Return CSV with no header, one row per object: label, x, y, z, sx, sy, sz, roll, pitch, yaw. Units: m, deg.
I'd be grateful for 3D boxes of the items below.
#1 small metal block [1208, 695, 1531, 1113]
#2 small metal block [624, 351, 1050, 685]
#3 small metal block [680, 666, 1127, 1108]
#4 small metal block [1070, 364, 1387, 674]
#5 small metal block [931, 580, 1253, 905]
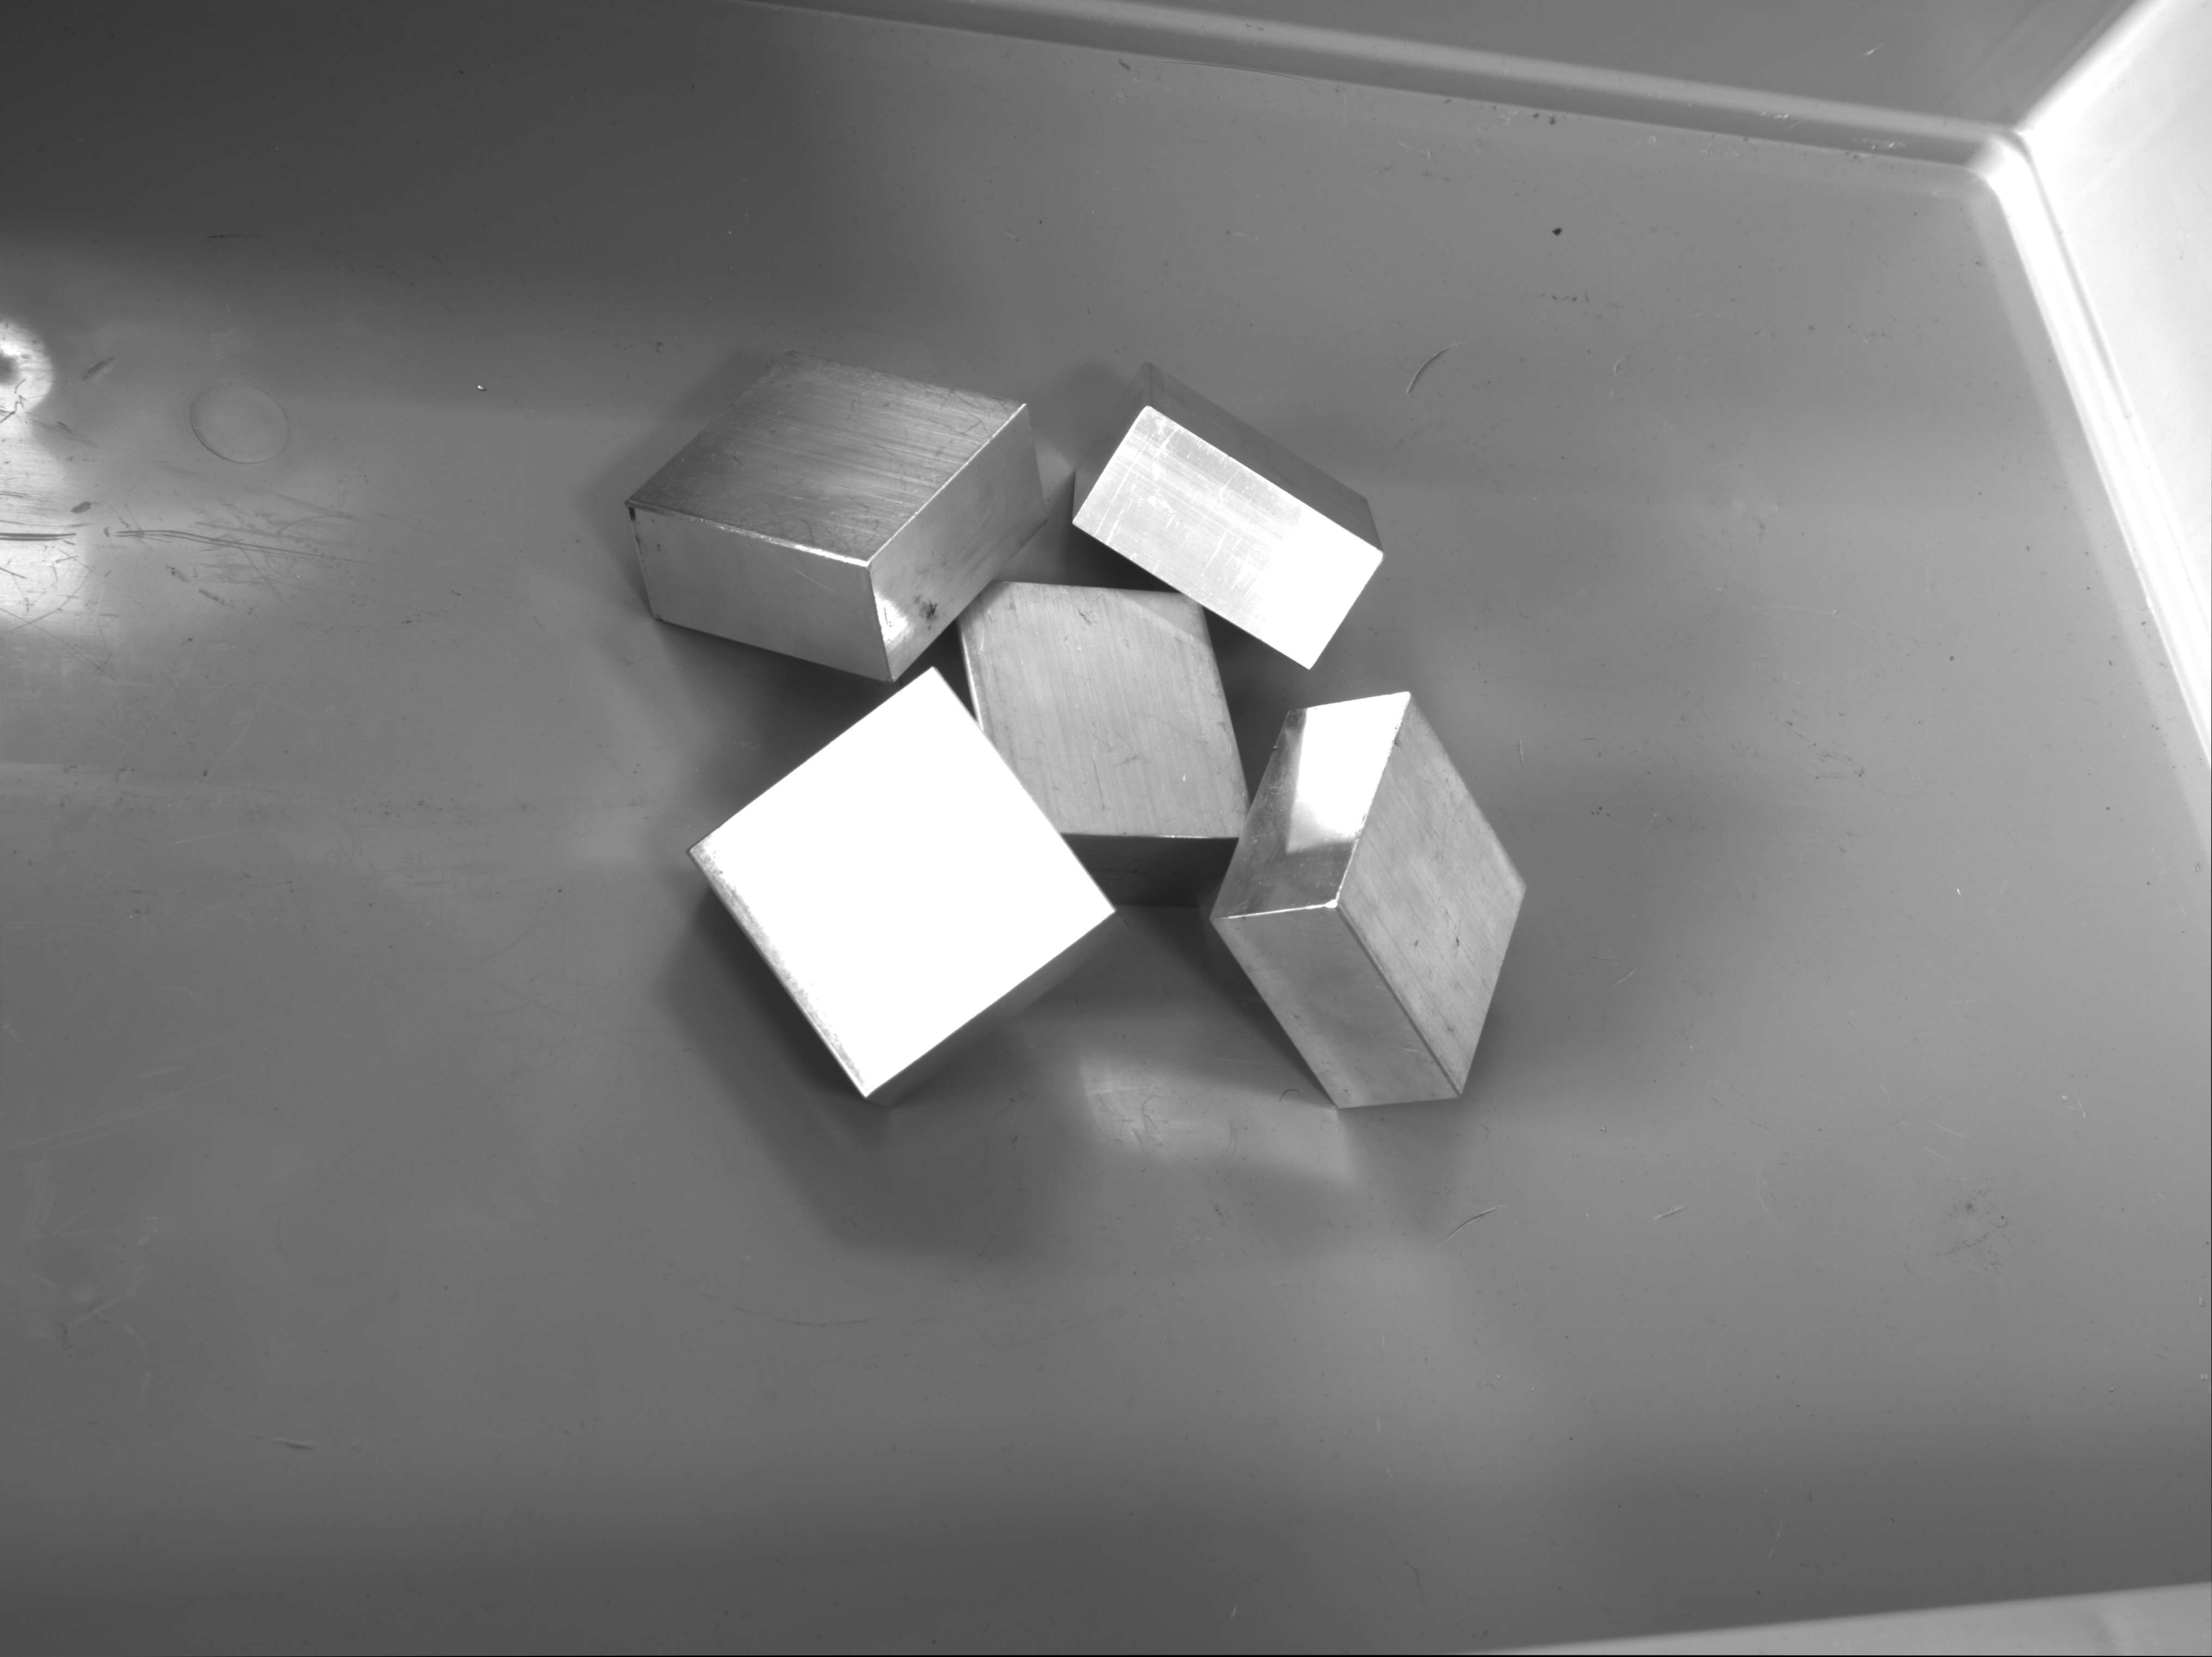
small metal block,0.047,0.013,0.639,0.050,0.025,0.050,55,42,-35
small metal block,-0.046,-0.054,0.629,0.050,0.025,0.050,15,45,28
small metal block,-0.033,0.010,0.598,0.050,0.025,0.050,-36,80,0
small metal block,0.022,-0.058,0.668,0.050,0.025,0.050,31,14,-8
small metal block,-0.005,-0.015,0.642,0.050,0.025,0.050,2,61,-27
